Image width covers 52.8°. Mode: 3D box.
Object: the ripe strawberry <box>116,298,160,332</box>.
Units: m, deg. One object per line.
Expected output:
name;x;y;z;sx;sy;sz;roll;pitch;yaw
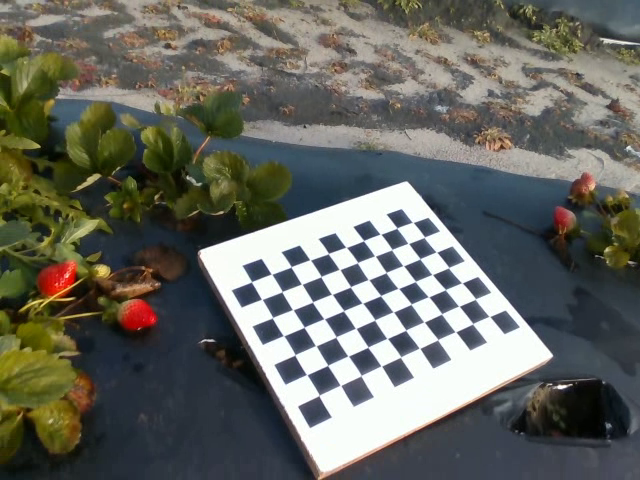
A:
ripe strawberry;-0.177;0.074;0.614;0.043;0.035;0.029;21;-40;10

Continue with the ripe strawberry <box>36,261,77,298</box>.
ripe strawberry;-0.258;0.034;0.624;0.040;0.048;0.032;43;8;21
